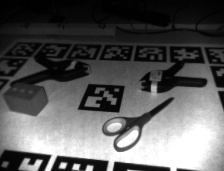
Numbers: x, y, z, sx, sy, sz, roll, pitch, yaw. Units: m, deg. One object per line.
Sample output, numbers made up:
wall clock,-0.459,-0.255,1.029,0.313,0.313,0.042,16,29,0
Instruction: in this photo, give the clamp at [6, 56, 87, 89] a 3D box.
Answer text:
clamp,-0.174,-0.044,0.625,0.202,0.037,0.165,0,38,4

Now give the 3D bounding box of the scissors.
scissors,0.064,0.071,0.480,0.204,0.016,0.086,-32,55,-30

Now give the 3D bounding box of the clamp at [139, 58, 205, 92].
clamp,0.147,-0.024,0.578,0.166,0.037,0.120,-17,49,-13

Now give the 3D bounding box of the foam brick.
foam brick,-0.211,0.040,0.522,0.077,0.052,0.053,4,43,17
